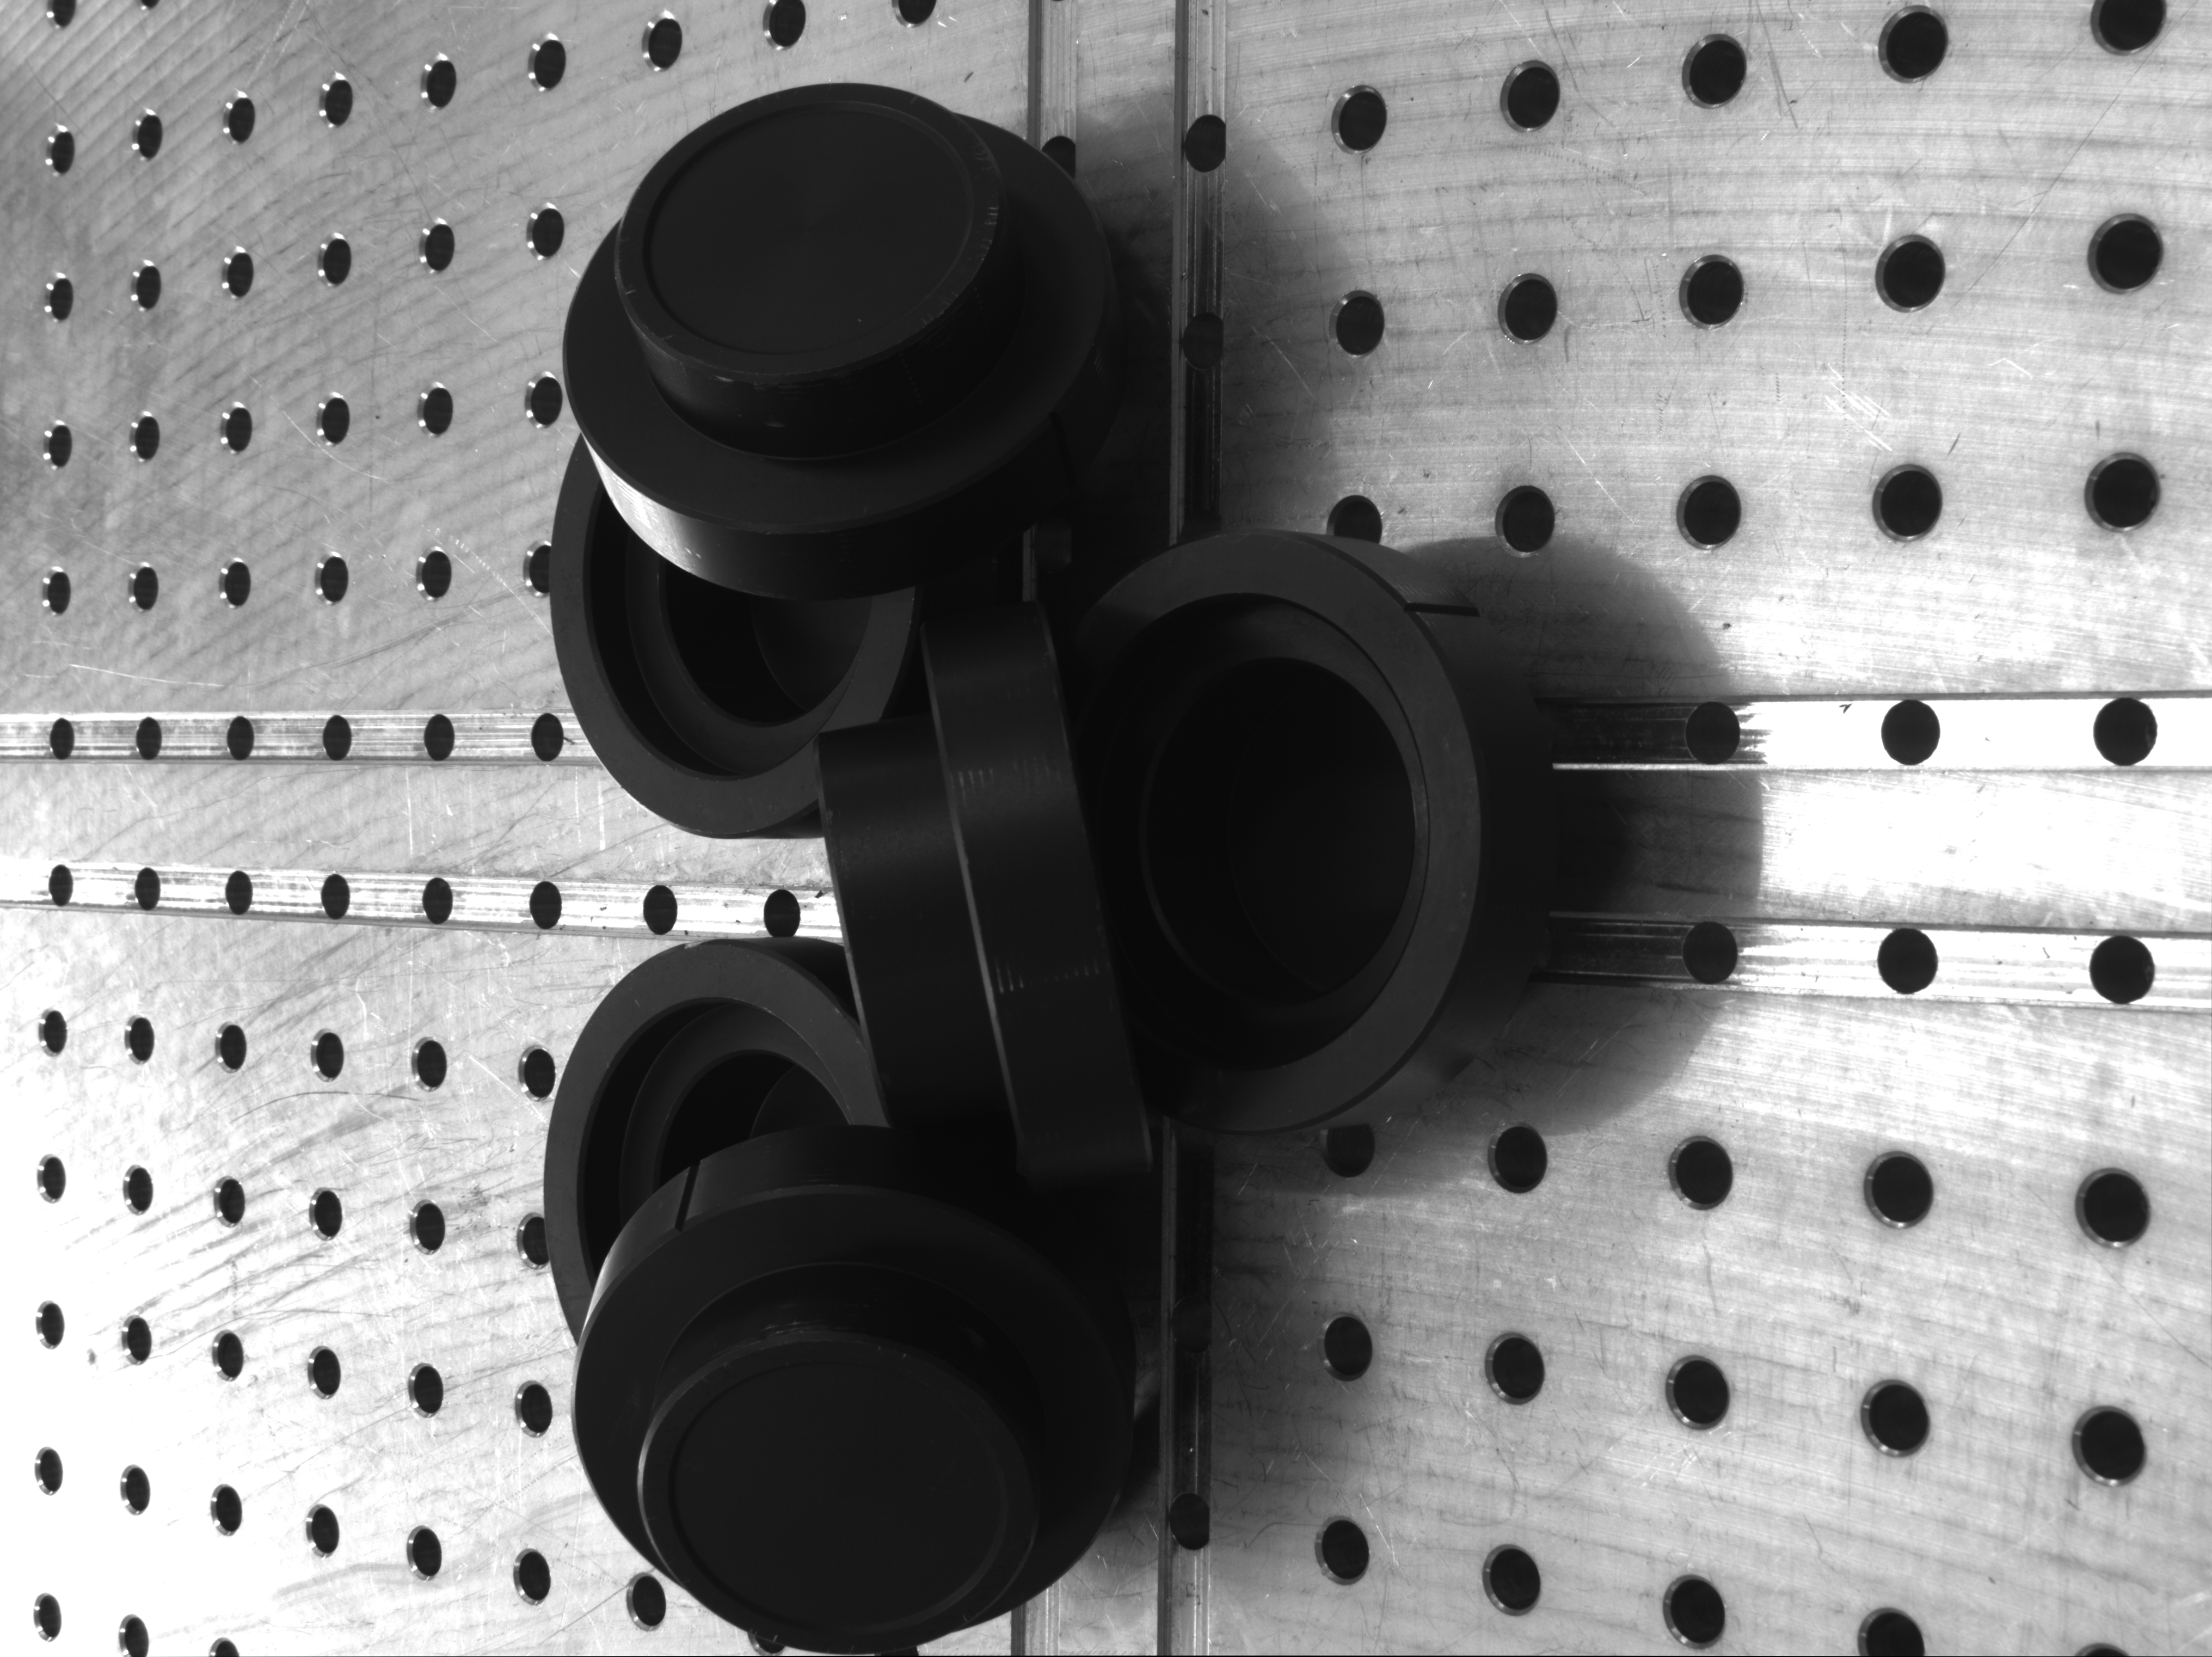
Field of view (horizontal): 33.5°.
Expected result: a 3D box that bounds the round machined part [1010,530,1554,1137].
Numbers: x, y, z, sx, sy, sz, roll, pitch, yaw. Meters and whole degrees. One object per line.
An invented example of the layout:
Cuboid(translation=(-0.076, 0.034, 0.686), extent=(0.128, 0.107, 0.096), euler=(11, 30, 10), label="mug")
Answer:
Cuboid(translation=(0.034, 0.001, 0.609), extent=(0.098, 0.042, 0.098), euler=(0, 90, 40), label="round machined part")

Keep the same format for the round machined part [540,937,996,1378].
Cuboid(translation=(-0.058, 0.069, 0.686), extent=(0.098, 0.042, 0.098), euler=(0, 90, 40), label="round machined part")

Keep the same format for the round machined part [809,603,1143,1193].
Cuboid(translation=(-0.023, 0.014, 0.618), extent=(0.042, 0.098, 0.098), euler=(-10, 81, -2), label="round machined part")

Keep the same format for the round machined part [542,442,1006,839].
Cuboid(translation=(-0.057, -0.047, 0.685), extent=(0.098, 0.042, 0.098), euler=(0, 90, 40), label="round machined part")

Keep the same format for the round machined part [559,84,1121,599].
Cuboid(translation=(-0.048, -0.091, 0.642), extent=(0.098, 0.042, 0.098), euler=(-4, 56, 6), label="round machined part")

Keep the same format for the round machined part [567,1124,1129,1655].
Cuboid(translation=(-0.045, 0.104, 0.638), extent=(0.098, 0.042, 0.098), euler=(1, 117, 2), label="round machined part")
